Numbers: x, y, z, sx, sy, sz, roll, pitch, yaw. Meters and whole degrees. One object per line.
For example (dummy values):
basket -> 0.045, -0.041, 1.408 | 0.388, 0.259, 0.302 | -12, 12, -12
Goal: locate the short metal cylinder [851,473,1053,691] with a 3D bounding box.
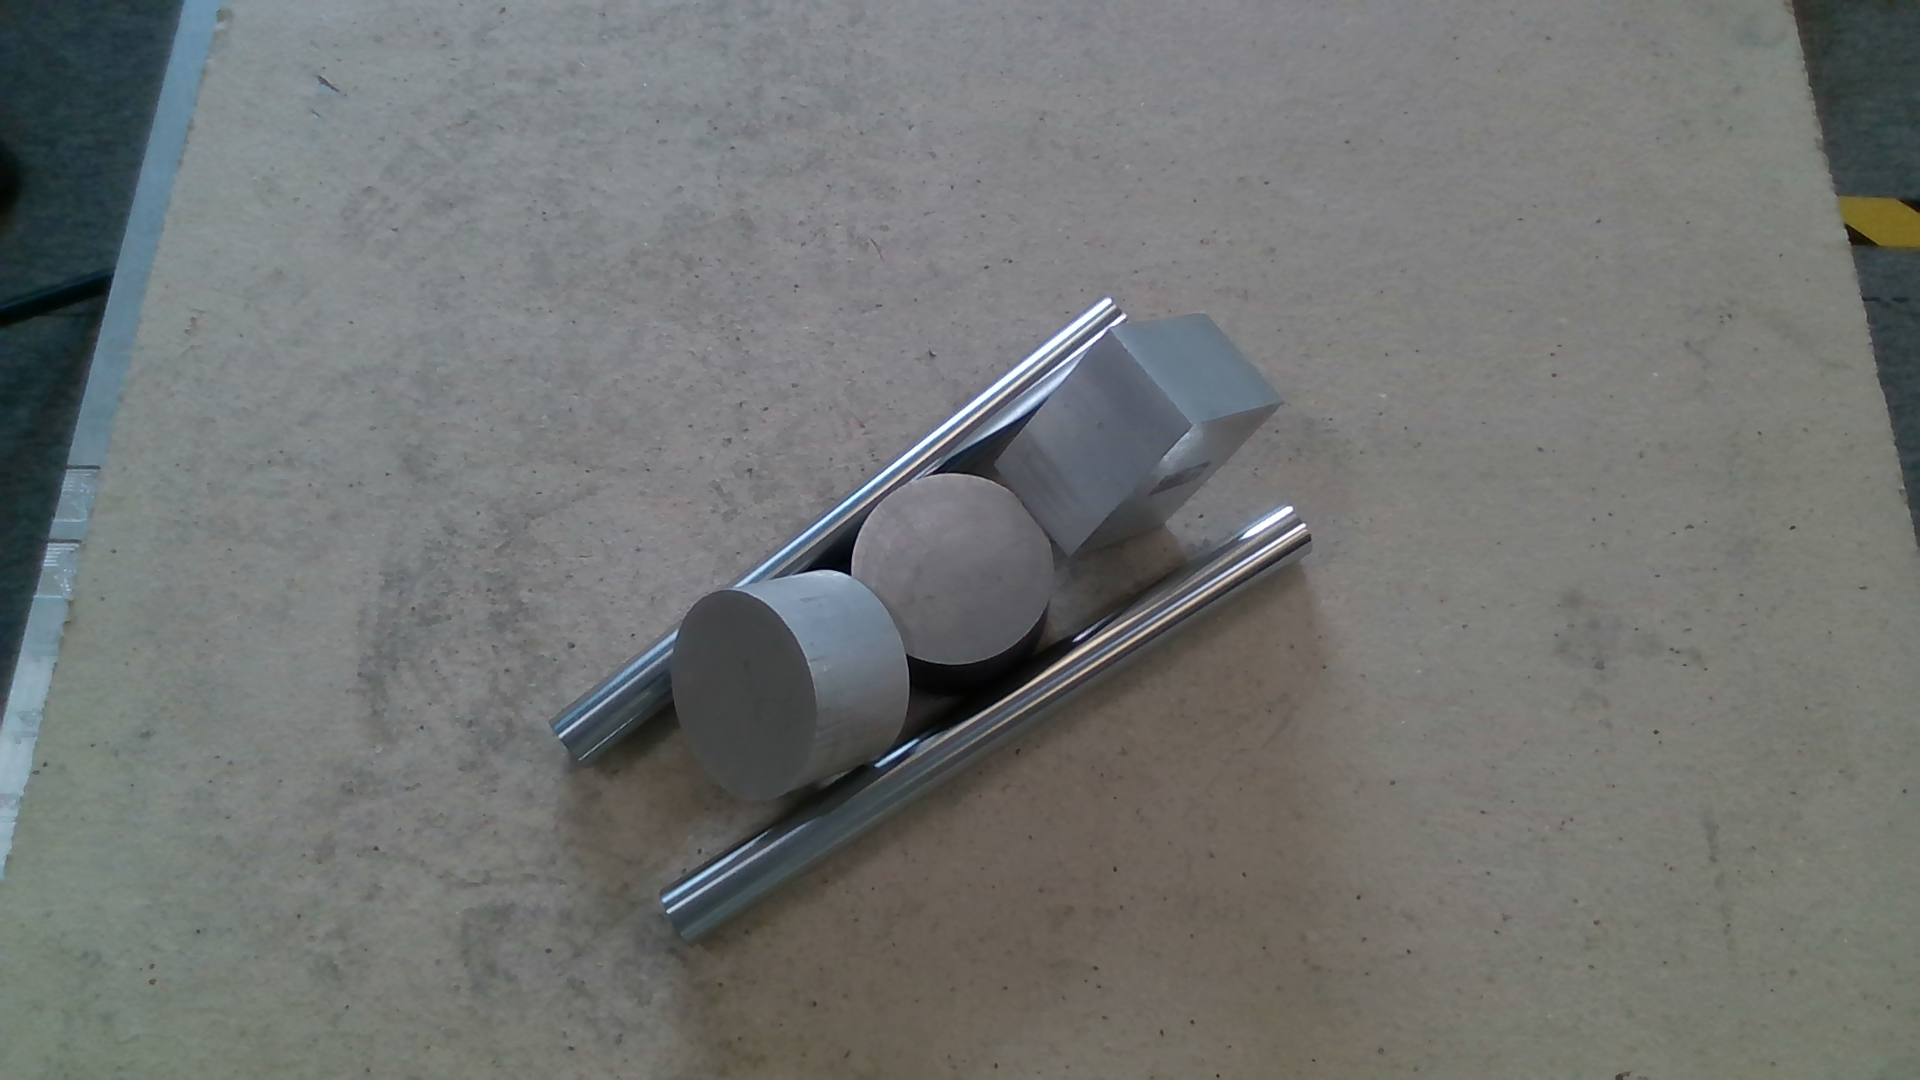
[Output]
short metal cylinder -> -0.003, 0.019, 0.568 | 0.080, 0.050, 0.080 | 0, 70, 0

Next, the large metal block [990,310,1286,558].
large metal block -> 0.073, -0.044, 0.559 | 0.080, 0.080, 0.050 | -18, 65, -51

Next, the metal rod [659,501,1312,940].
metal rod -> 0.016, 0.070, 0.563 | 0.300, 0.025, 0.025 | -31, 73, -10

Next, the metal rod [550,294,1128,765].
metal rod -> -0.044, -0.009, 0.591 | 0.300, 0.025, 0.025 | -39, 75, -13

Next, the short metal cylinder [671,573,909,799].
short metal cylinder -> -0.066, 0.054, 0.533 | 0.050, 0.080, 0.080 | -12, 63, -50
